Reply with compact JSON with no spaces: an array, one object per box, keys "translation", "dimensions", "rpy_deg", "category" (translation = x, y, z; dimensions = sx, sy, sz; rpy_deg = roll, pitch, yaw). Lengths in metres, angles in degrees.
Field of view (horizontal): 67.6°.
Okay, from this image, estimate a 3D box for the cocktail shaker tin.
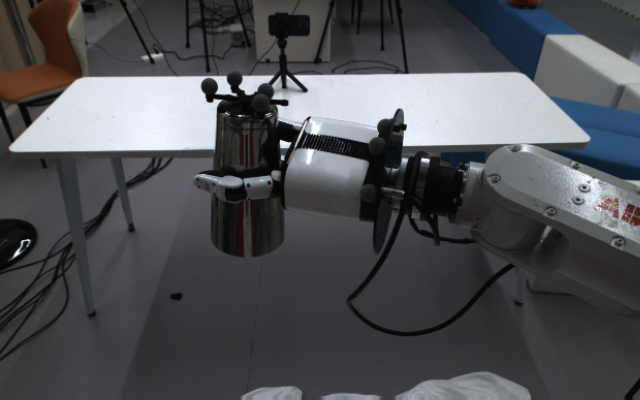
[{"translation":[-0.083,-0.028,0.565],"dimensions":[0.093,0.170,0.093],"rpy_deg":[4,32,-2],"category":"cocktail shaker tin"}]
